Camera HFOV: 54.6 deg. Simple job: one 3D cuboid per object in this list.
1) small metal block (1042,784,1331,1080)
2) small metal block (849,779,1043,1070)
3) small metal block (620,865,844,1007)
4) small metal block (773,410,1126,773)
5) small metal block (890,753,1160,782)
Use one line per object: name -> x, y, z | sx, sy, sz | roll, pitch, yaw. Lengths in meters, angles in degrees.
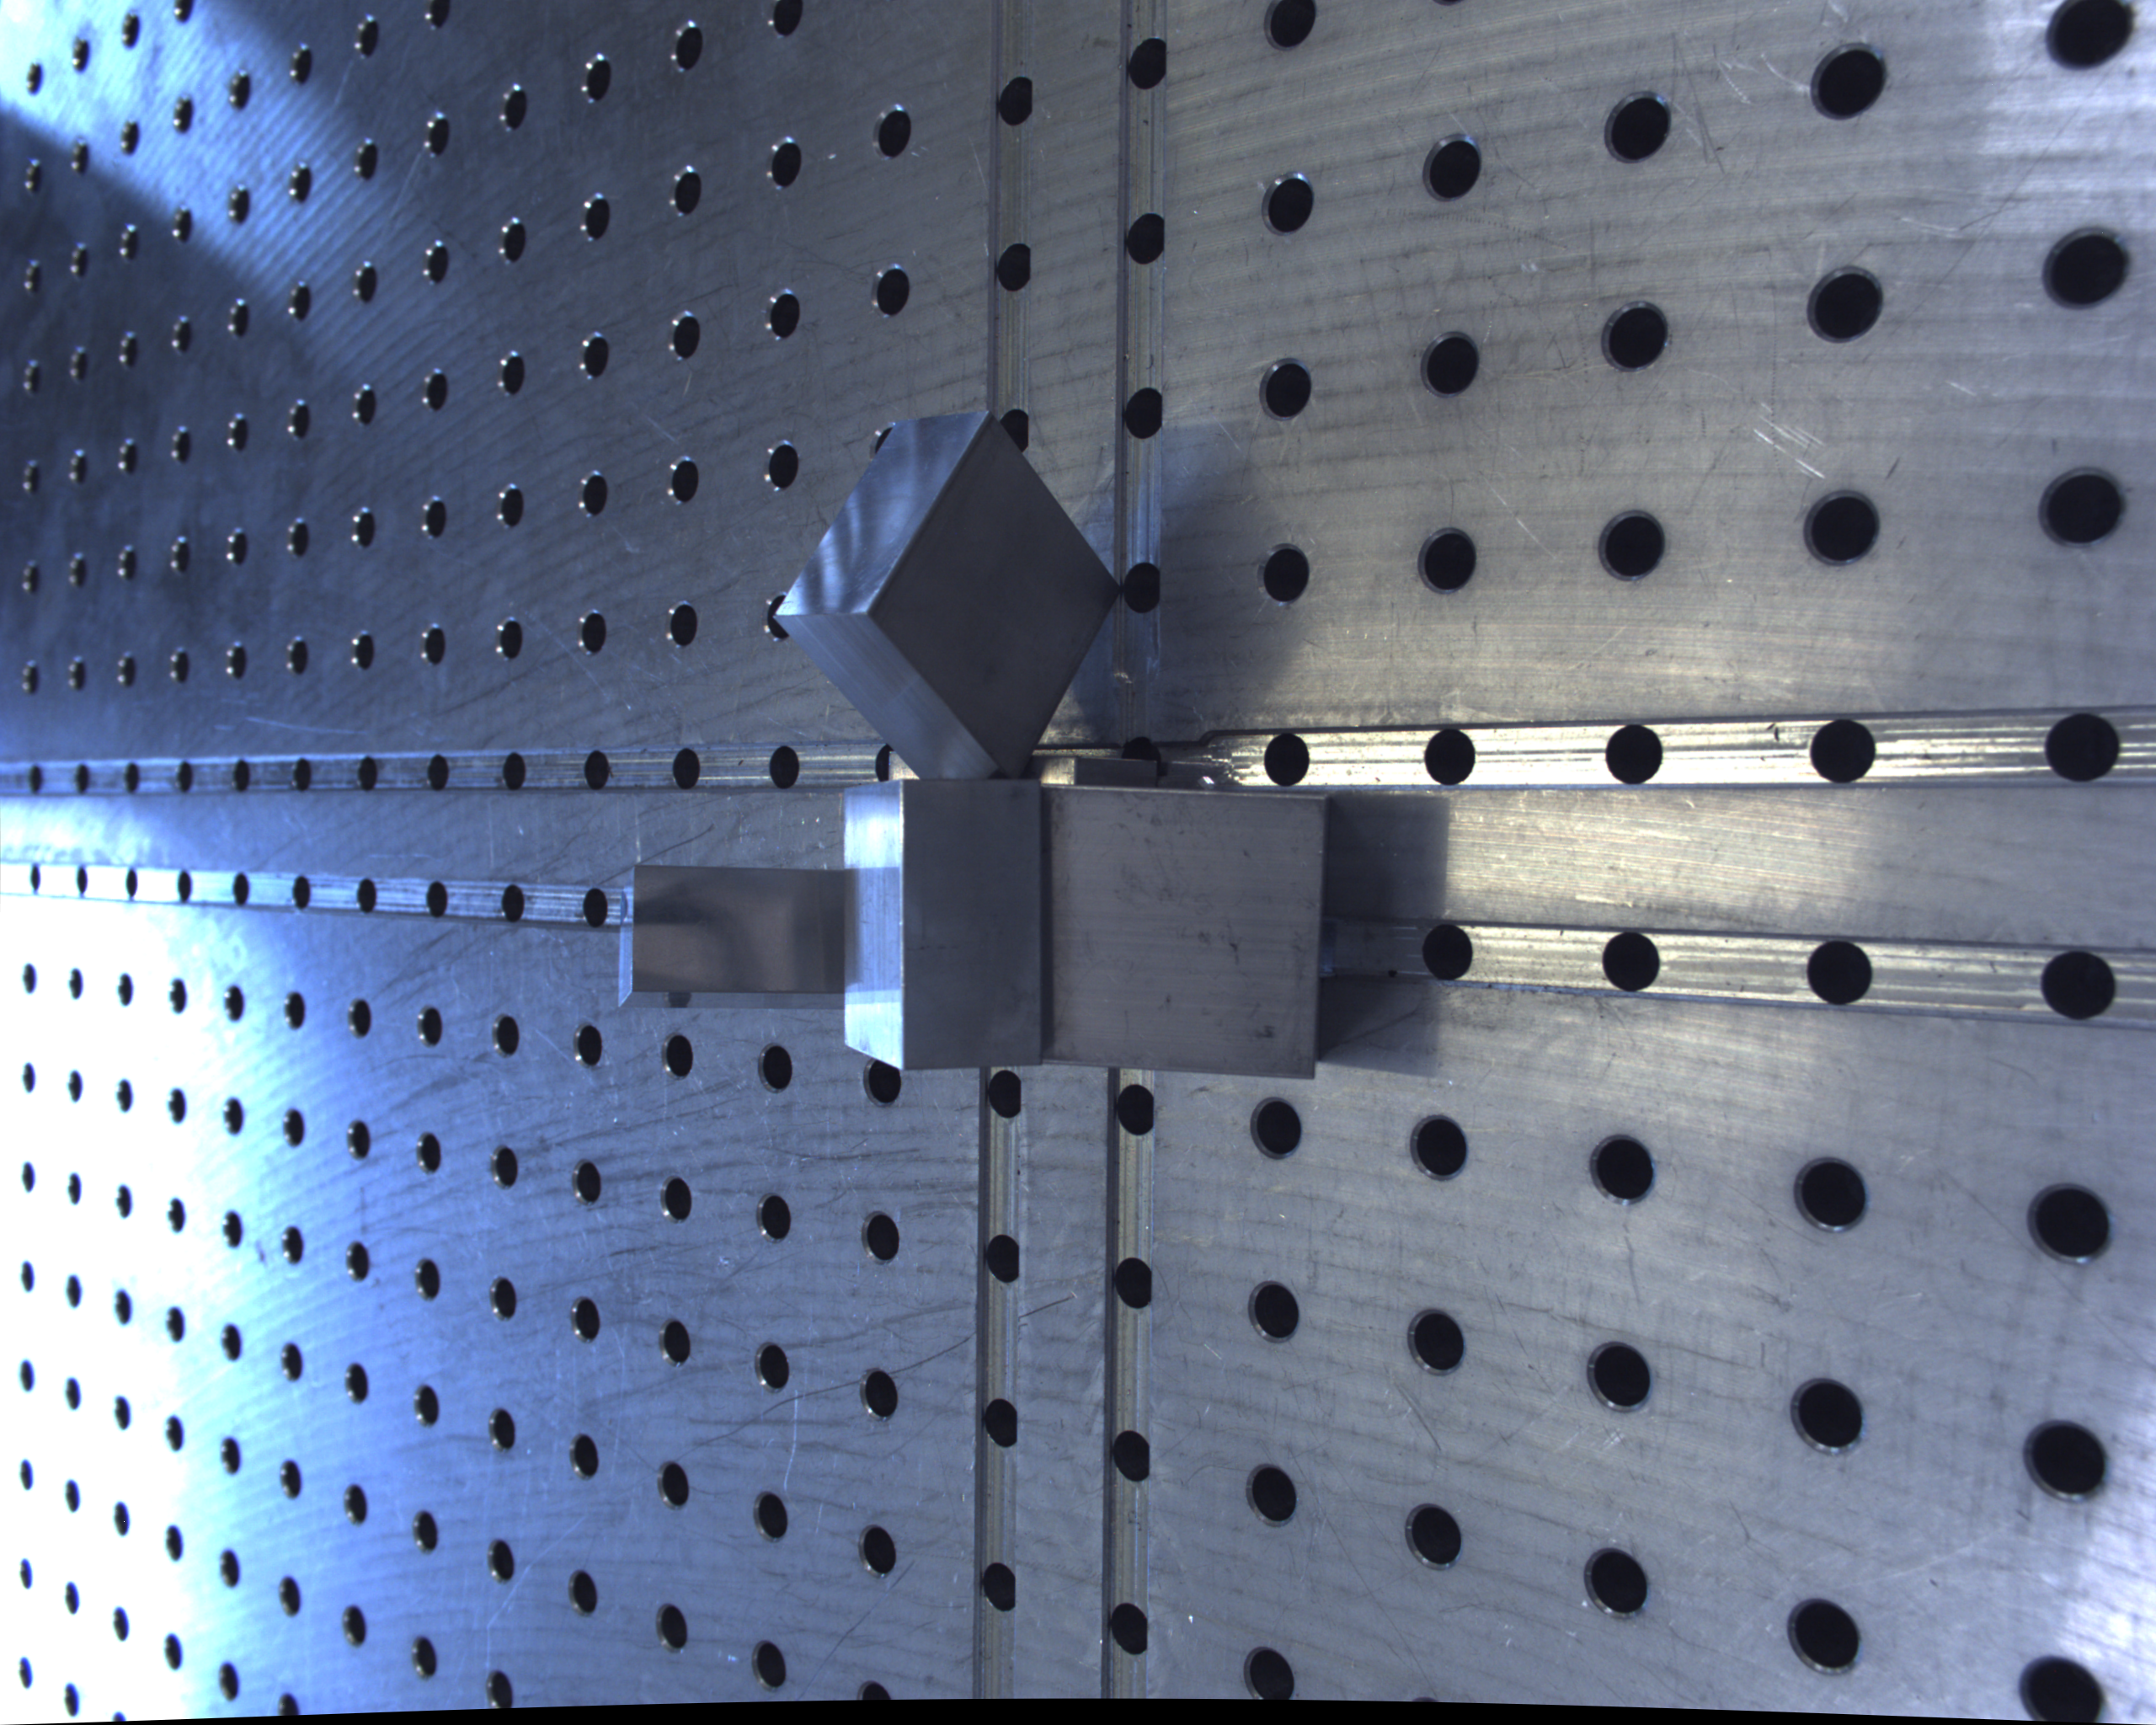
small metal block -> 0.020, 0.012, 0.380 | 0.050, 0.025, 0.050 | 2, 92, 9
small metal block -> -0.026, 0.011, 0.384 | 0.050, 0.025, 0.050 | 179, 91, -73
small metal block -> -0.069, 0.017, 0.438 | 0.050, 0.050, 0.025 | 154, 116, -73
small metal block -> -0.023, -0.050, 0.400 | 0.025, 0.050, 0.050 | 4, 57, 41
small metal block -> -0.012, 0.003, 0.421 | 0.050, 0.025, 0.050 | 3, 92, 40
